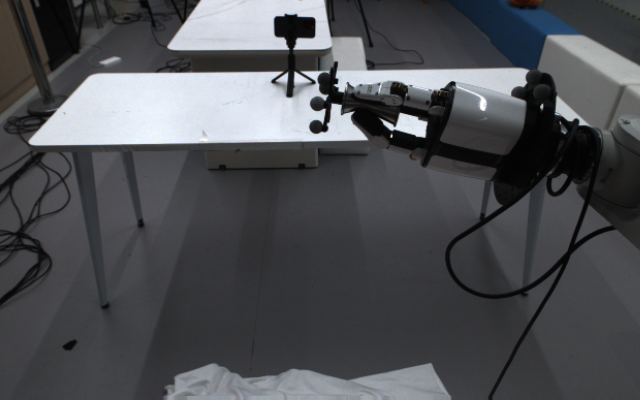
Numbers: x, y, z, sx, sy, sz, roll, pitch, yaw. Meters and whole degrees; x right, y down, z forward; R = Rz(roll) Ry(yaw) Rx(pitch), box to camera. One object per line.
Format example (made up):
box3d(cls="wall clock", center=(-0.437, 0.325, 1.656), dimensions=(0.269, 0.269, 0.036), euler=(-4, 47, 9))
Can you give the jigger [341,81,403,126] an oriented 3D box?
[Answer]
box3d(cls="jigger", center=(0.065, -0.123, 0.588), dimensions=(0.071, 0.043, 0.043), euler=(11, 35, 3))
